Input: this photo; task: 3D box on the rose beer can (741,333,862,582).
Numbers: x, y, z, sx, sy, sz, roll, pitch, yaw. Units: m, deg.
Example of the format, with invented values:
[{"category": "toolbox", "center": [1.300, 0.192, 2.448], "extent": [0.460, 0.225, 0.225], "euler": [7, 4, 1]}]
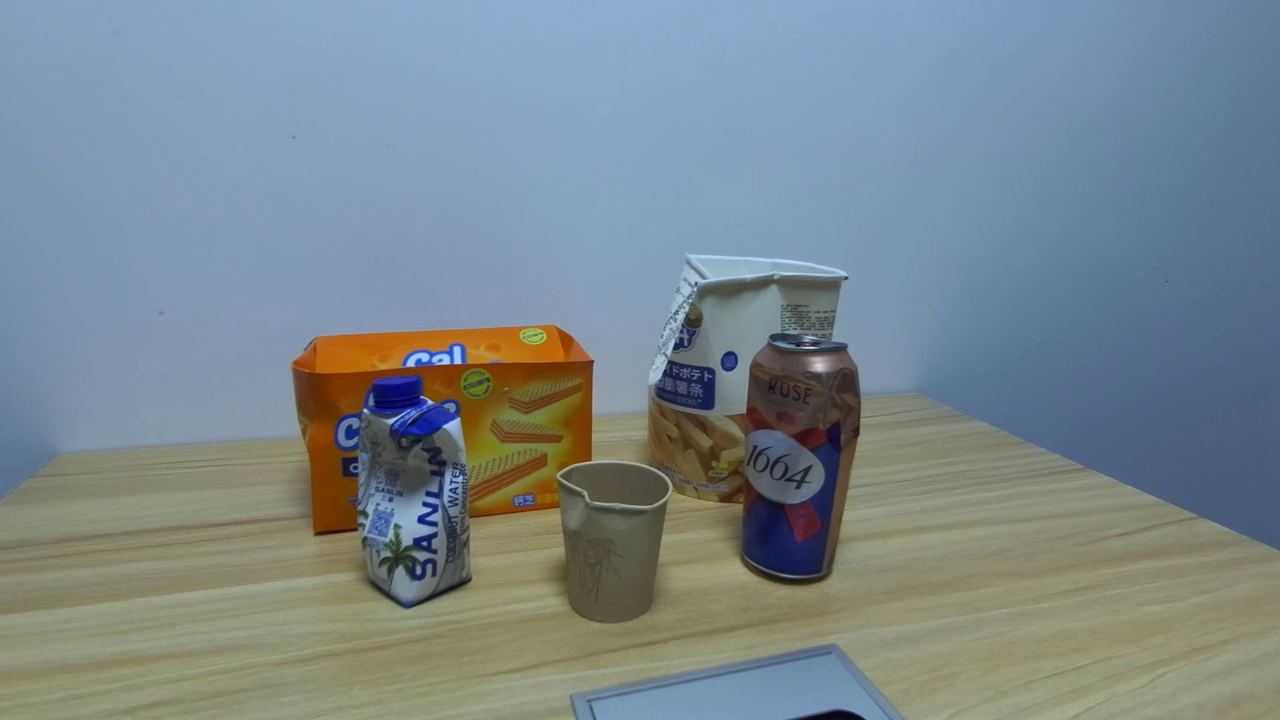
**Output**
[{"category": "rose beer can", "center": [0.110, 0.067, 0.493], "extent": [0.065, 0.167, 0.075], "euler": [-4, 13, -30]}]

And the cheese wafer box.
[{"category": "cheese wafer box", "center": [-0.167, 0.052, 0.613], "extent": [0.231, 0.132, 0.151], "euler": [-3, 16, -18]}]

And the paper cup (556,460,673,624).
[{"category": "paper cup", "center": [-0.017, 0.116, 0.454], "extent": [0.073, 0.081, 0.069], "euler": [3, 13, -1]}]

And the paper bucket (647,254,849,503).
[{"category": "paper bucket", "center": [0.079, 0.008, 0.657], "extent": [0.170, 0.202, 0.162], "euler": [-3, 14, -27]}]

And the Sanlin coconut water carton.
[{"category": "Sanlin coconut water carton", "center": [-0.146, 0.085, 0.453], "extent": [0.068, 0.144, 0.057], "euler": [21, 29, 37]}]
